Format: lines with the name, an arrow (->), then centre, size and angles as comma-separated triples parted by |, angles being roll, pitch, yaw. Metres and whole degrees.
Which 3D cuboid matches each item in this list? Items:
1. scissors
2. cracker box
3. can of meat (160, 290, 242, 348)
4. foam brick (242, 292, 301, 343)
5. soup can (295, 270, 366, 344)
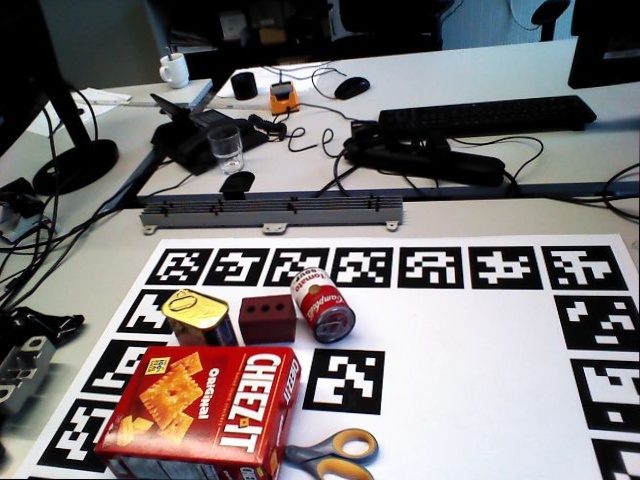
scissors -> -0.031, 0.255, 0.603 | 0.203, 0.016, 0.087 | -5, 41, 10
cracker box -> -0.144, 0.212, 0.637 | 0.214, 0.072, 0.163 | -8, 39, 12
can of meat -> -0.172, 0.128, 0.757 | 0.102, 0.084, 0.057 | 8, 45, 24
foam brick -> -0.070, 0.118, 0.770 | 0.078, 0.051, 0.052 | -9, 40, 6
soup can -> 0.013, 0.097, 0.769 | 0.068, 0.068, 0.102 | -26, 36, -15
